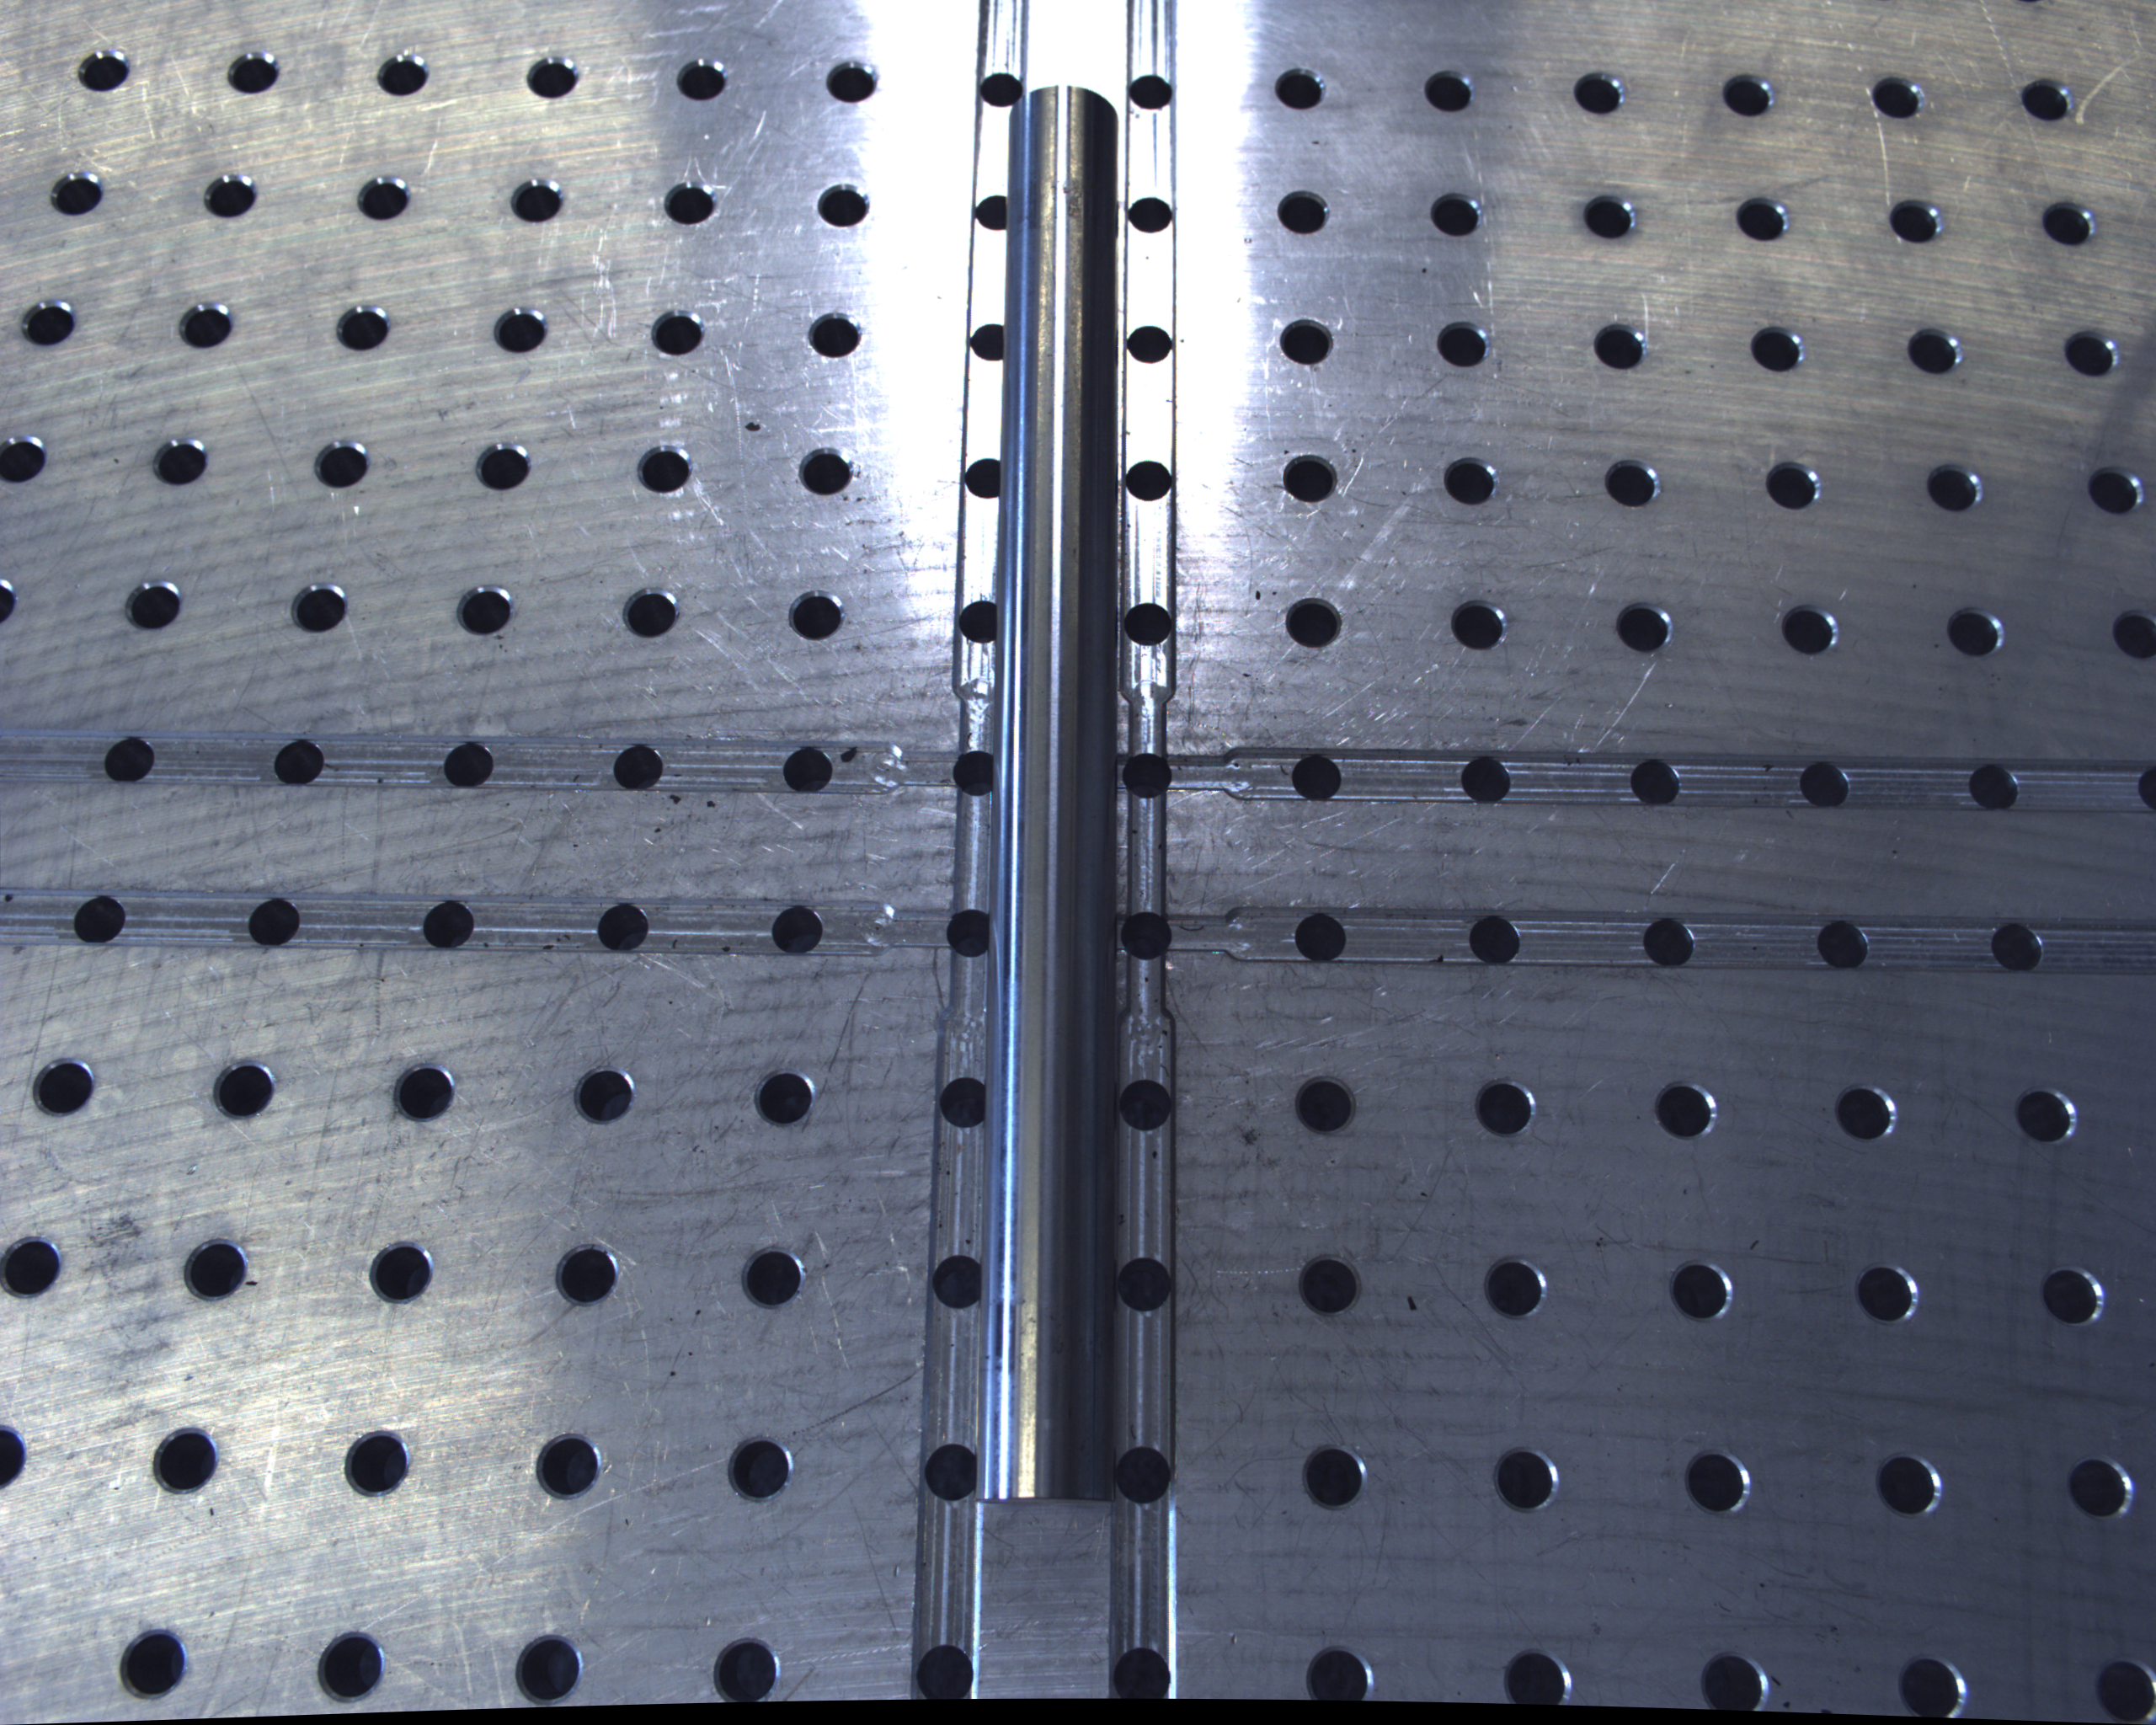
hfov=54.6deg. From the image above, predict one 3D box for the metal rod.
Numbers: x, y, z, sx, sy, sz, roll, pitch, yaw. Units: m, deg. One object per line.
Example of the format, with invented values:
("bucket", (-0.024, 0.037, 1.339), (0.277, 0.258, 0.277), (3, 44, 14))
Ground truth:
("metal rod", (-0.005, -0.027, 0.422), (0.025, 0.025, 0.299), (1, 70, 0))
